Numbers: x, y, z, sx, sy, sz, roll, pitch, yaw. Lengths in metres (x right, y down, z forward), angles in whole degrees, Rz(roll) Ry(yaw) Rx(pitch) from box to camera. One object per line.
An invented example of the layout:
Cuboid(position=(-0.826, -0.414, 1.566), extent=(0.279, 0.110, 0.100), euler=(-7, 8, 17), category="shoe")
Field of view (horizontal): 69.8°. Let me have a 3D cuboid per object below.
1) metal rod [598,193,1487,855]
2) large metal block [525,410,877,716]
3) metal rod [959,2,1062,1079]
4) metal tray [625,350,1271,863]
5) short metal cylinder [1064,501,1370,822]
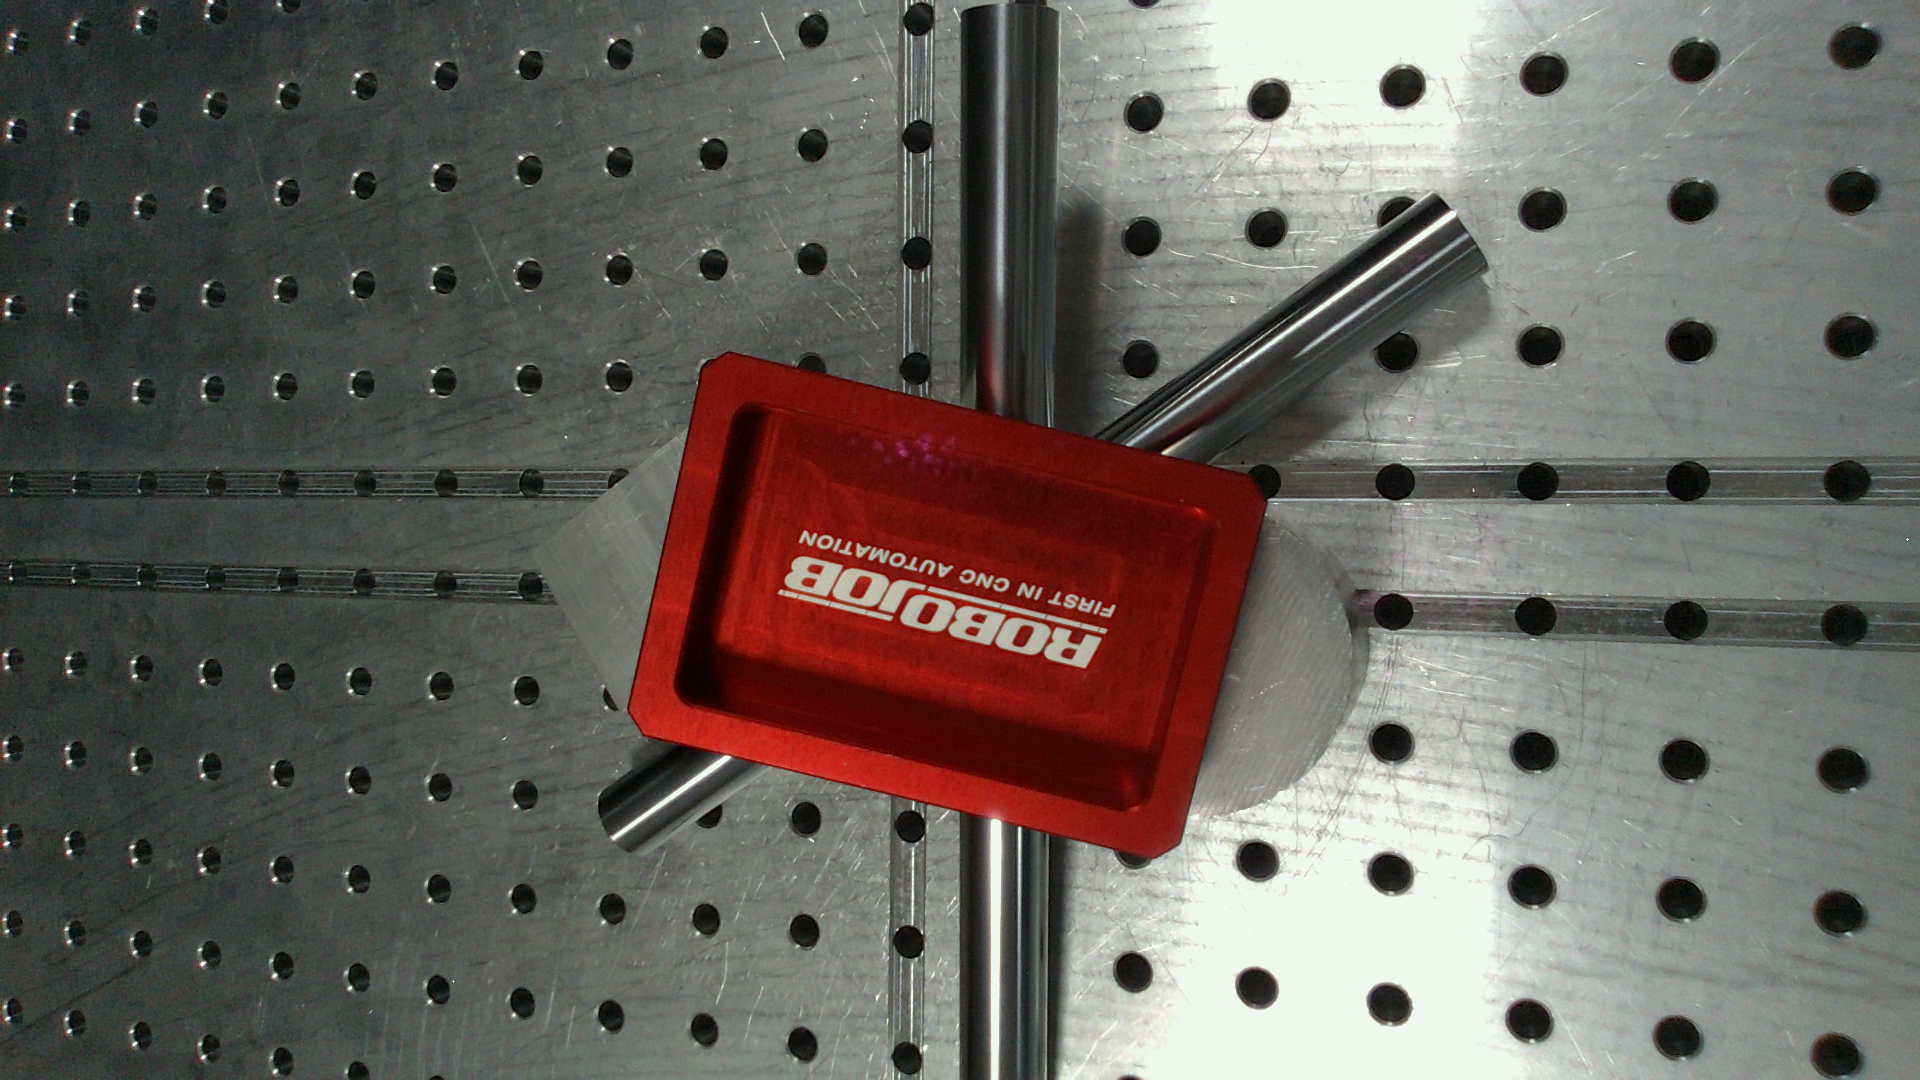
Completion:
Cuboid(position=(0.011, 0.005, 0.395), extent=(0.299, 0.025, 0.025), euler=(-36, 79, 16), category="metal rod")
Cuboid(position=(-0.058, 0.003, 0.390), extent=(0.080, 0.080, 0.050), euler=(-36, 78, 17), category="large metal block")
Cuboid(position=(0.013, 0.016, 0.370), extent=(0.025, 0.025, 0.300), euler=(4, 101, 20), category="metal rod")
Cuboid(position=(-0.003, 0.014, 0.322), extent=(0.130, 0.030, 0.090), euler=(13, 95, 1), category="metal tray")
Cuboid(position=(0.065, 0.029, 0.361), extent=(0.080, 0.050, 0.080), euler=(0, 90, 20), category="short metal cylinder")
